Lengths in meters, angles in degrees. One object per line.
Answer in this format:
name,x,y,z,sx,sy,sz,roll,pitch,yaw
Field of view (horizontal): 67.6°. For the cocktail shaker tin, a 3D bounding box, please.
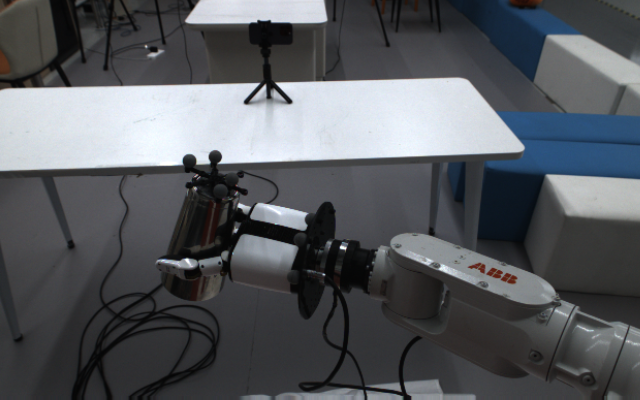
cocktail shaker tin,-0.161,0.045,0.670,0.093,0.170,0.093,16,31,-10
